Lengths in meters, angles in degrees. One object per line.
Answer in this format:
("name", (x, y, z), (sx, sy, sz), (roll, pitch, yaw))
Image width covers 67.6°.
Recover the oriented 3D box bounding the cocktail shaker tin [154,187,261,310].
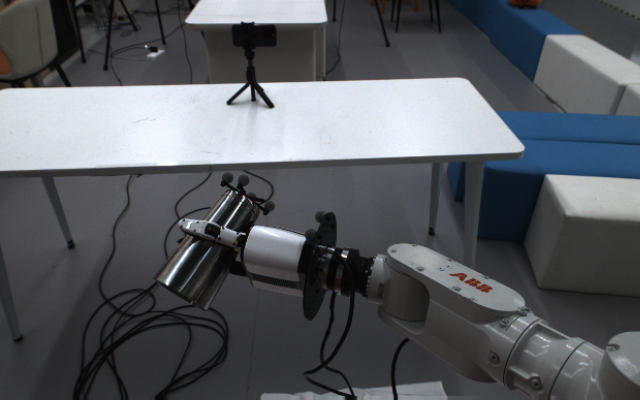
("cocktail shaker tin", (-0.162, 0.067, 0.731), (0.093, 0.093, 0.170), (20, 67, 24))
